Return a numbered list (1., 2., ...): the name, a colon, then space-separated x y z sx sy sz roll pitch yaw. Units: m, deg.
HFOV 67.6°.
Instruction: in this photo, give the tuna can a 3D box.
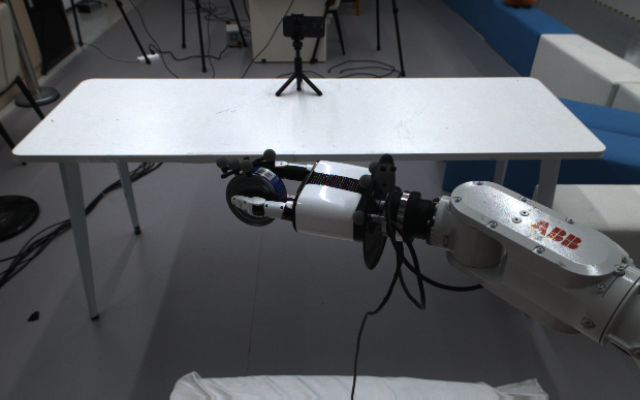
1. tuna can: -0.087 -0.006 0.713 0.085 0.085 0.034 13 29 15
